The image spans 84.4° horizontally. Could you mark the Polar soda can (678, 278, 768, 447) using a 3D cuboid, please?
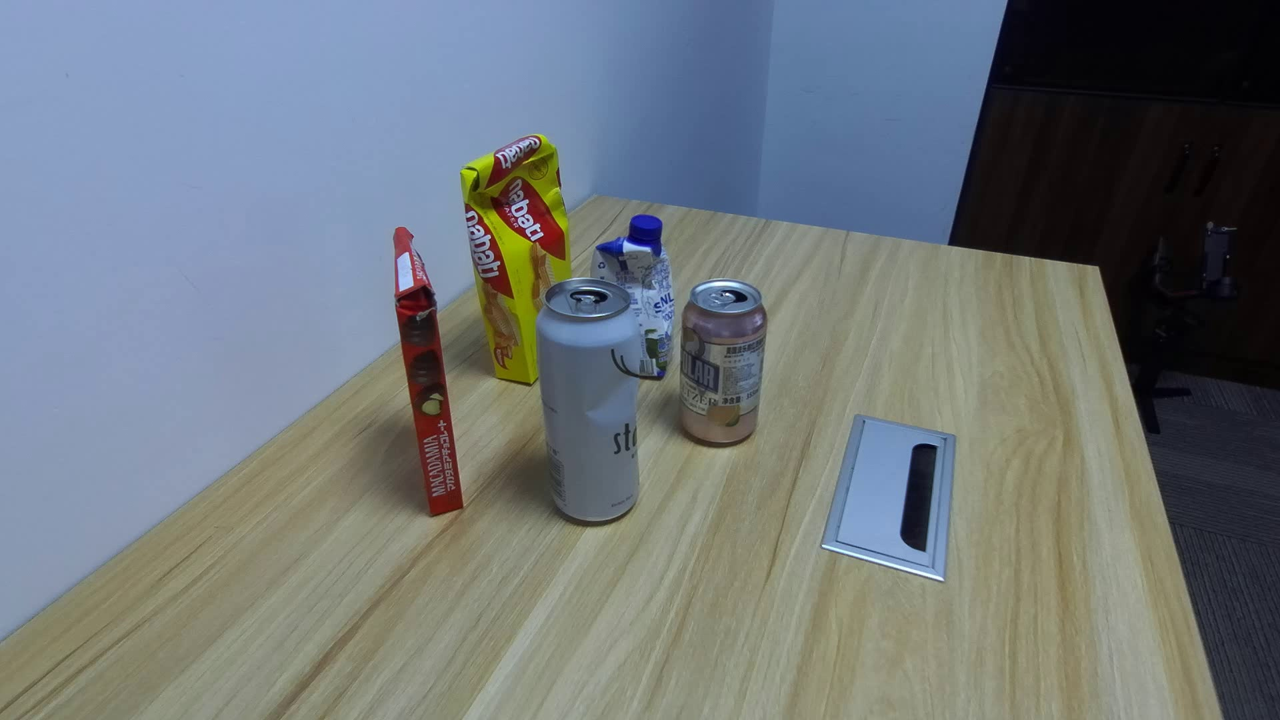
[{"bbox_3d":[0.066,0.003,0.565,0.067,0.126,0.067,-1,30,1],"label":"Polar soda can"}]

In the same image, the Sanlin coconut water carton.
[{"bbox_3d":[-0.005,-0.059,0.644,0.068,0.145,0.057,-3,24,11],"label":"Sanlin coconut water carton"}]

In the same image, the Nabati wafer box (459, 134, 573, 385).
[{"bbox_3d":[-0.103,-0.087,0.633,0.042,0.205,0.113,13,39,21],"label":"Nabati wafer box"}]

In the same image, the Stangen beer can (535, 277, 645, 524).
[{"bbox_3d":[-0.030,0.030,0.485,0.069,0.173,0.070,10,33,16],"label":"Stangen beer can"}]

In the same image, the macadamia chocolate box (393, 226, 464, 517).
[{"bbox_3d":[-0.156,0.010,0.510,0.027,0.187,0.102,-9,33,-19],"label":"macadamia chocolate box"}]
